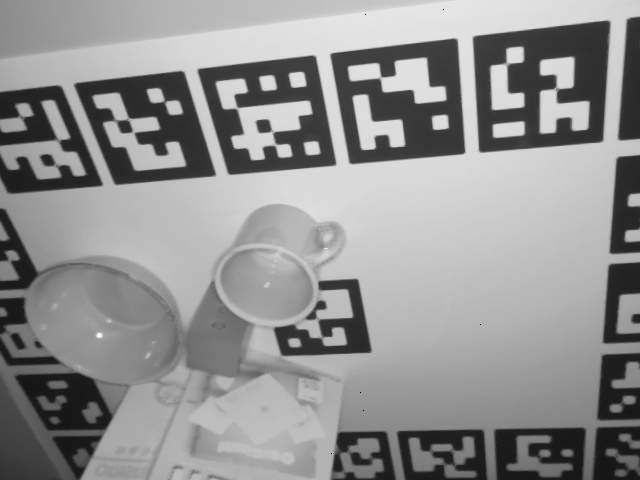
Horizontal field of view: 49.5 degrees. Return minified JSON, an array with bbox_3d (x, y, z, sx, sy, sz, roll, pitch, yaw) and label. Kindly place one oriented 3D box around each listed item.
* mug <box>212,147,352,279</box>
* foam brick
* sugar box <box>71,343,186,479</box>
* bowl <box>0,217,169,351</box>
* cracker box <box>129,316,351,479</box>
[{"bbox_3d":[-0.029,-0.029,0.597,0.116,0.082,0.093,-13,128,14],"label":"mug"},{"bbox_3d":[-0.091,0.049,0.668,0.053,0.079,0.051,8,124,2],"label":"foam brick"},{"bbox_3d":[-0.171,0.182,0.697,0.093,0.178,0.045,13,124,-1],"label":"sugar box"},{"bbox_3d":[-0.217,0.035,0.670,0.161,0.056,0.160,3,122,6],"label":"bowl"},{"bbox_3d":[-0.067,0.171,0.657,0.165,0.216,0.071,21,126,-5],"label":"cracker box"}]
